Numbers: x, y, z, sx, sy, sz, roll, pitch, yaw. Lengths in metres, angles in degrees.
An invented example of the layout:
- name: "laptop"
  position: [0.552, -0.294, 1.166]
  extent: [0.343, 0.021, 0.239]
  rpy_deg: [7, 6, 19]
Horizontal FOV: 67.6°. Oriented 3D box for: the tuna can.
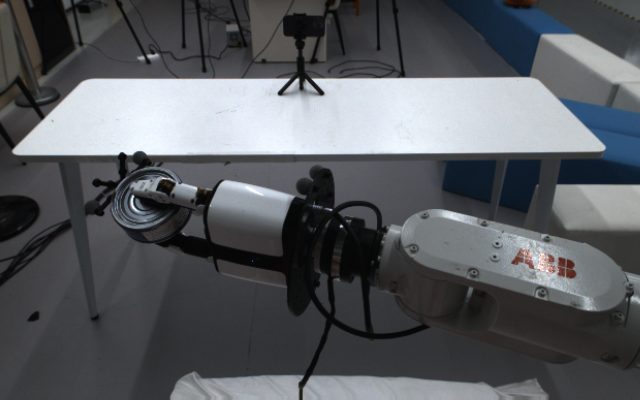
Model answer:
- name: "tuna can"
  position: [-0.189, 0.010, 0.556]
  extent: [0.085, 0.034, 0.085]
  rpy_deg: [-1, 63, 1]
